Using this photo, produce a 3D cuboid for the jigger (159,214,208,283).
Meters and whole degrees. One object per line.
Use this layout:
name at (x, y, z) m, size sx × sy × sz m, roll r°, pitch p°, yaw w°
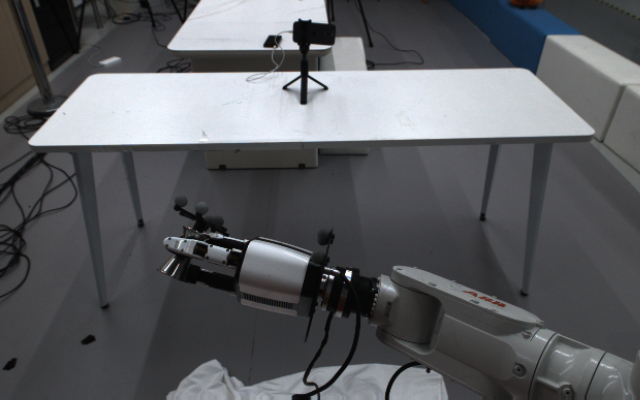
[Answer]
jigger at (-0.185, 0.072, 0.655) m, size 0.043 × 0.043 × 0.071 m, roll 20°, pitch 73°, yaw 24°
